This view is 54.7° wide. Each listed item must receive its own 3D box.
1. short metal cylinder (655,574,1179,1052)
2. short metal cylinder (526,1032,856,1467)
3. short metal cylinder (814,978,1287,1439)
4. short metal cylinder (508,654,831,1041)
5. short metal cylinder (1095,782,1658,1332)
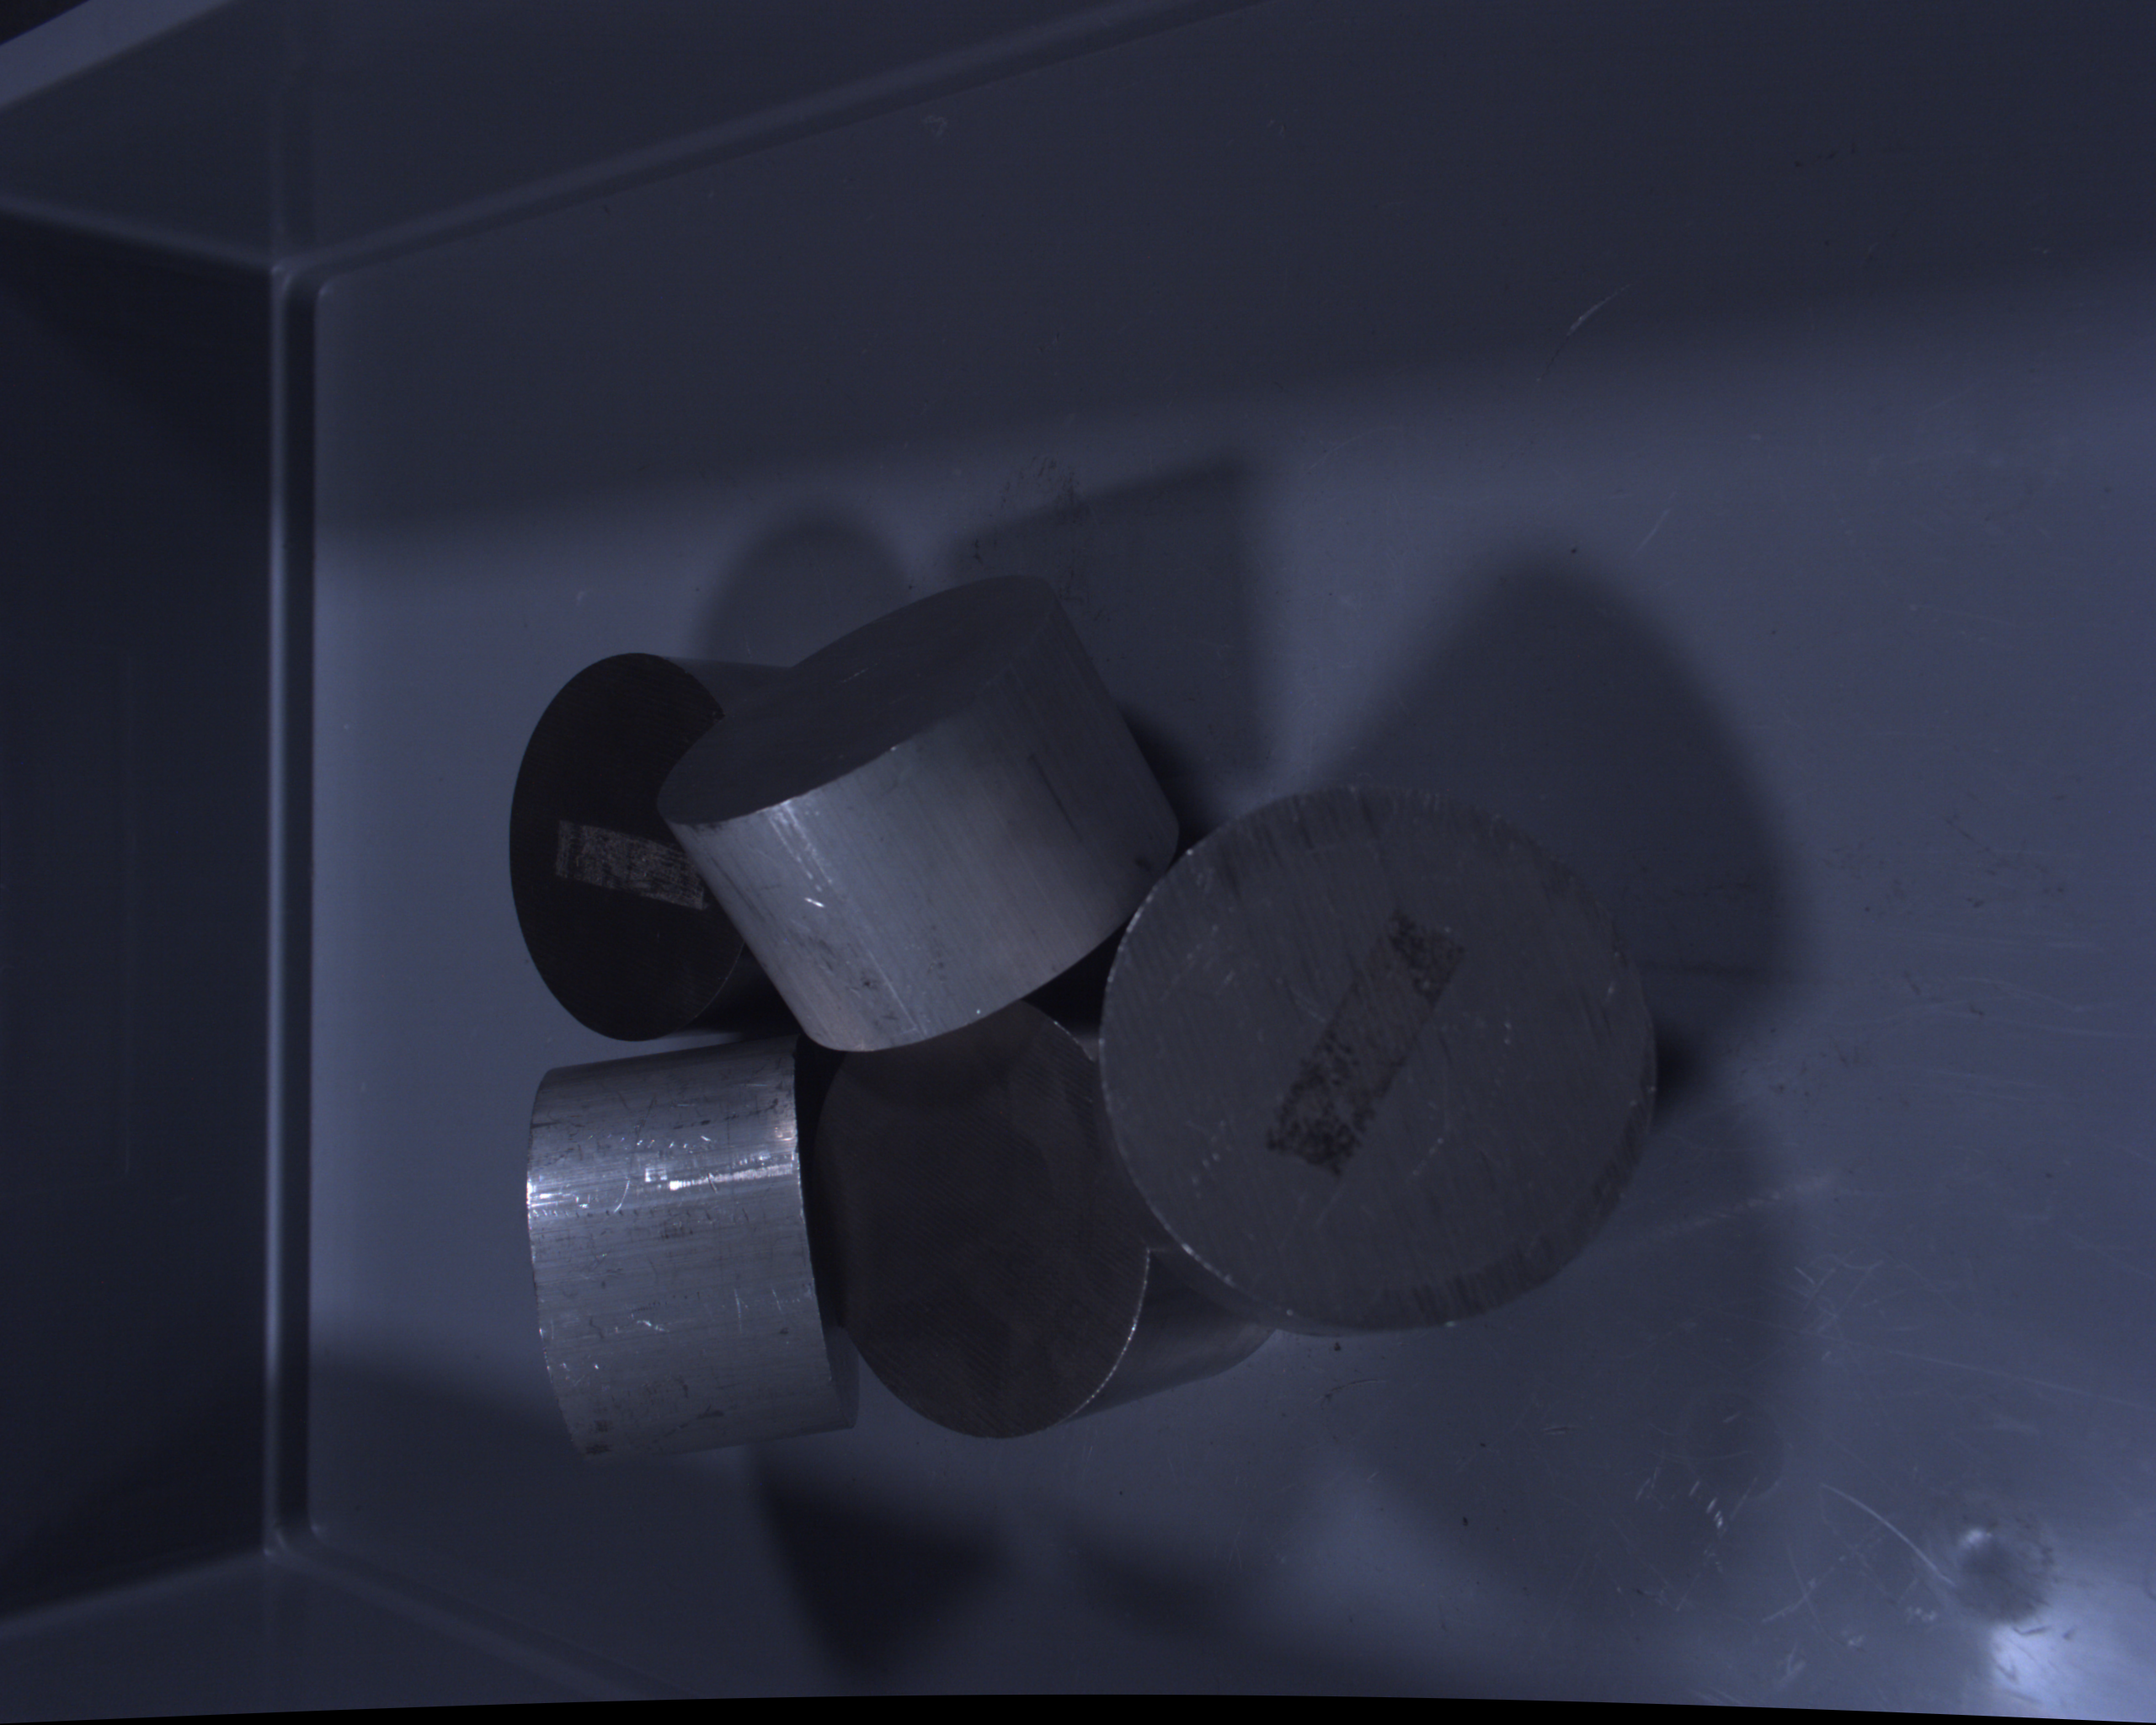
[{"bbox_3d":[-0.029,-0.010,0.381,0.080,0.080,0.050,-10,119,39],"label":"short metal cylinder"},{"bbox_3d":[-0.076,0.077,0.420,0.050,0.080,0.080,-8,83,-3],"label":"short metal cylinder"},{"bbox_3d":[-0.003,0.062,0.389,0.080,0.050,0.079,0,90,39],"label":"short metal cylinder"},{"bbox_3d":[-0.077,-0.003,0.448,0.080,0.050,0.079,0,90,39],"label":"short metal cylinder"},{"bbox_3d":[0.043,0.032,0.325,0.081,0.050,0.080,0,76,-1],"label":"short metal cylinder"}]
